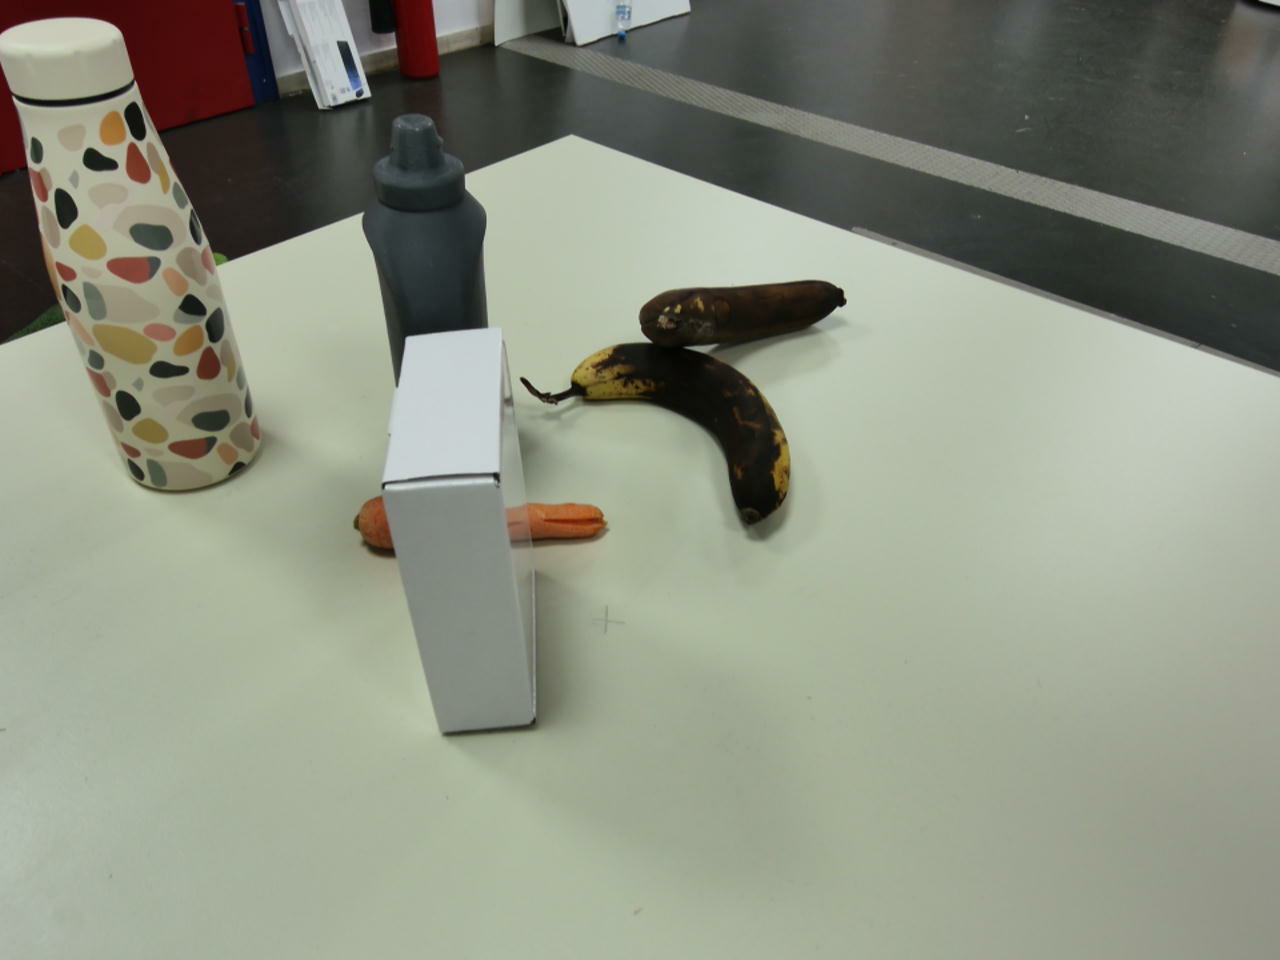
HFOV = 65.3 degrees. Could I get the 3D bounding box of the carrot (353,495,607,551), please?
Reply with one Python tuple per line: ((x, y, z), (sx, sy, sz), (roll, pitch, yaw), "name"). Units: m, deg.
((-0.086, 0.022, 0.544), (0.136, 0.032, 0.030), (-3, 37, -4), "carrot")
